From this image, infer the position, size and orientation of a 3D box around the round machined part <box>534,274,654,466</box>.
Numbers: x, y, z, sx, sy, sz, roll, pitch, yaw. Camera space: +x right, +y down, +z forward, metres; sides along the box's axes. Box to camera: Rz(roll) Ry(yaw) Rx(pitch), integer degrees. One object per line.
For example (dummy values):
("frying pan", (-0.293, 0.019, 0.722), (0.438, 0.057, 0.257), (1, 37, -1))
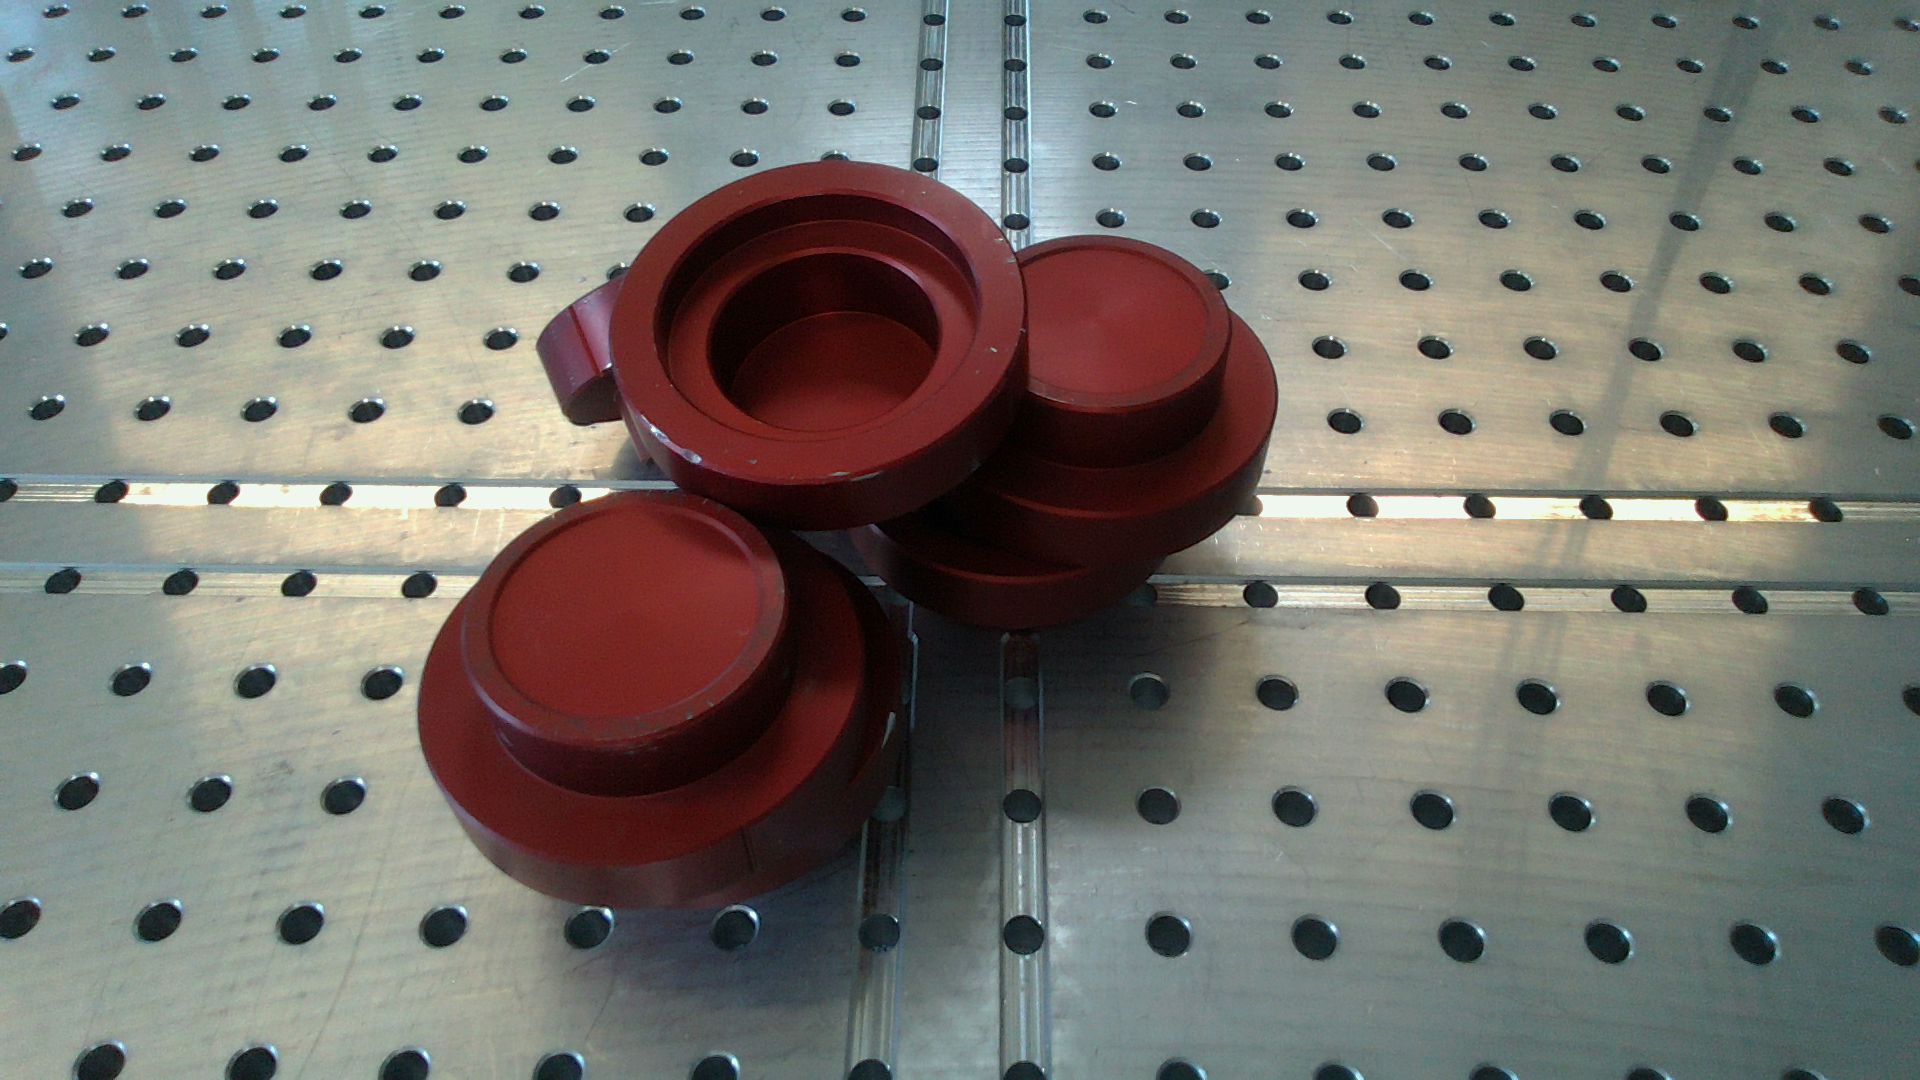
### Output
("round machined part", (-0.070, -0.054, 0.404), (0.098, 0.098, 0.042), (-22, 88, -17))

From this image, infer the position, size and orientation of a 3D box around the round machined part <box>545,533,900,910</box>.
("round machined part", (-0.063, 0.033, 0.328), (0.098, 0.042, 0.098), (0, 50, 0))

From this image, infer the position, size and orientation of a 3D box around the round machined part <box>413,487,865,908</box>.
("round machined part", (-0.071, 0.027, 0.305), (0.098, 0.042, 0.098), (0, 50, 0))

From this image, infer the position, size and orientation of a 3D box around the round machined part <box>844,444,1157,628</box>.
("round machined part", (0.013, -0.027, 0.379), (0.098, 0.042, 0.098), (0, 50, 0))

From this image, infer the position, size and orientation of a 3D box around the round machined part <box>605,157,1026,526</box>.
("round machined part", (-0.033, -0.044, 0.337), (0.098, 0.042, 0.098), (-1, 58, 3))

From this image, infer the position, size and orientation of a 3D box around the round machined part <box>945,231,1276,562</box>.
("round machined part", (0.035, -0.045, 0.365), (0.098, 0.042, 0.098), (0, 49, 0))
